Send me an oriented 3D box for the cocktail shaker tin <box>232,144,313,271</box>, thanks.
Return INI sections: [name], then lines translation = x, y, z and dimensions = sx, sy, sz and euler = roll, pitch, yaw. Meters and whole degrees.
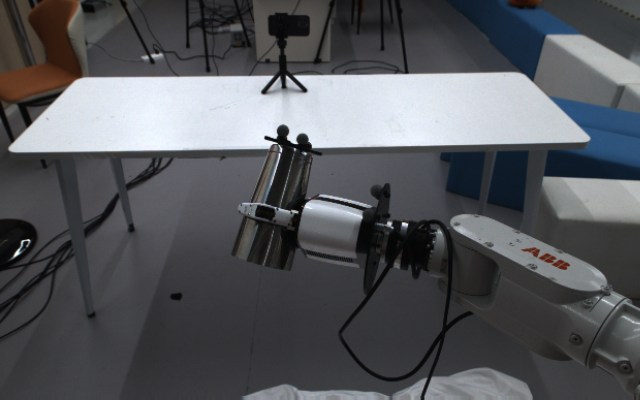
[cocktail shaker tin]
translation = -0.064, 0.010, 0.712
dimensions = 0.093, 0.170, 0.093
euler = 15, -4, 1
